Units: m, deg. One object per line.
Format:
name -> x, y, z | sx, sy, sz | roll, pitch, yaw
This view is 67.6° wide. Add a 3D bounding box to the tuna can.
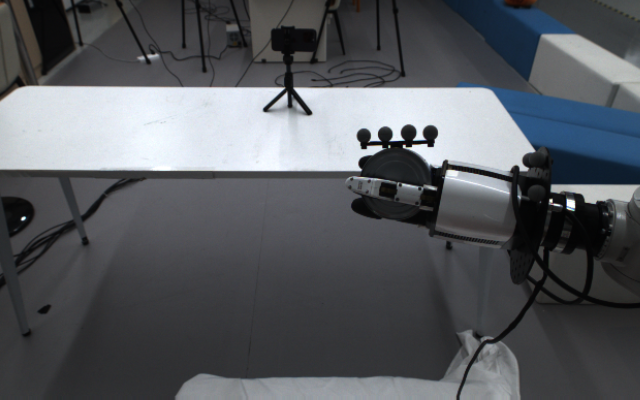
tuna can -> 0.094, -0.021, 0.585 | 0.085, 0.085, 0.034 | 15, 10, 18
